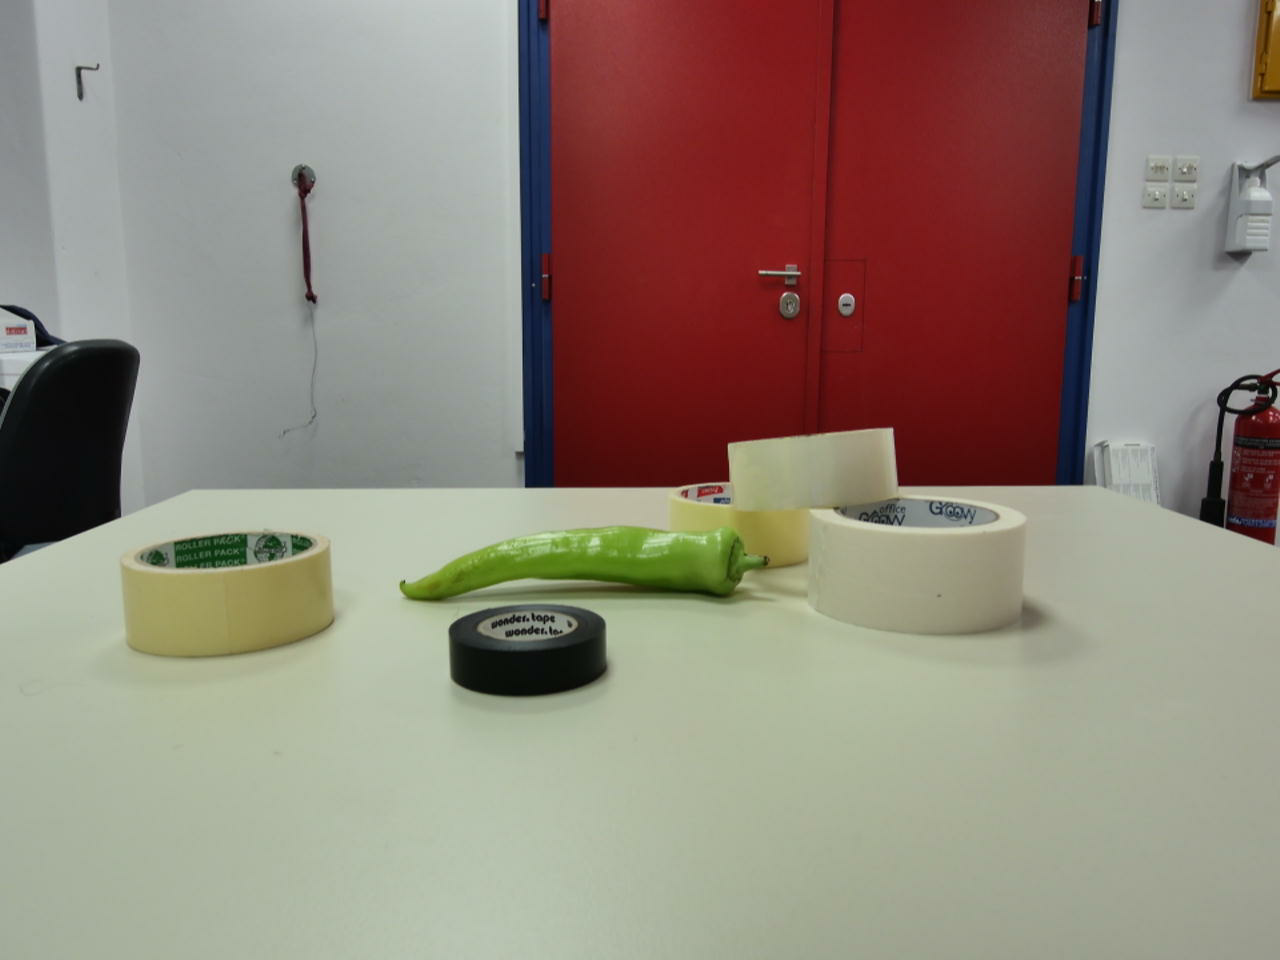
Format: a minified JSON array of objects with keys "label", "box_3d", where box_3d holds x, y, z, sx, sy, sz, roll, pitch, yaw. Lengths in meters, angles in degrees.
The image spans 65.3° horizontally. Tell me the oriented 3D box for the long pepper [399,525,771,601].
[{"label":"long pepper","box_3d":[-0.029,0.043,0.538,0.197,0.038,0.046,0,6,2]}]
